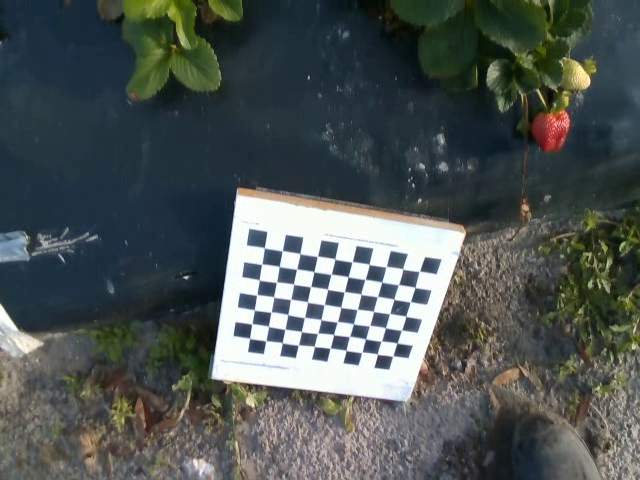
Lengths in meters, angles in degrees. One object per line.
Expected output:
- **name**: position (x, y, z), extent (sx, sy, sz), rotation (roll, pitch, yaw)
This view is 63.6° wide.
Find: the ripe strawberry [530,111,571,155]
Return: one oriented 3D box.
- **ripe strawberry**: position (0.279, -0.128, 0.612), extent (0.047, 0.050, 0.035), rotation (-10, 19, 1)
